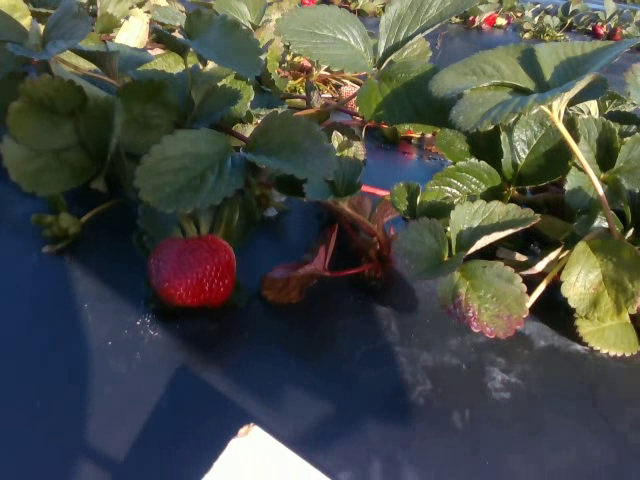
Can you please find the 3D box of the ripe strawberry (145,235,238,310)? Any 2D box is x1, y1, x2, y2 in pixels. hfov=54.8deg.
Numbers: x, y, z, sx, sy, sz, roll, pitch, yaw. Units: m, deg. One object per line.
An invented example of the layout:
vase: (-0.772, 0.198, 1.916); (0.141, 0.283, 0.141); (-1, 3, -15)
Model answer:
ripe strawberry: (-0.055, 0.014, 0.248); (0.040, 0.041, 0.056); (-22, 10, 7)
